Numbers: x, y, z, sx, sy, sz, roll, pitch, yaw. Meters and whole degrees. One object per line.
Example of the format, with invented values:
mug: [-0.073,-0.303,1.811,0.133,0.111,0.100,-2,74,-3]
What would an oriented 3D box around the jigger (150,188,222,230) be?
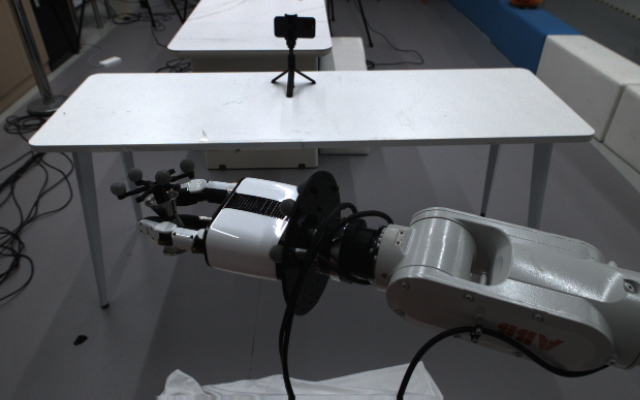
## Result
jigger: [-0.179,0.028,0.590,0.043,0.071,0.043,-12,24,5]
